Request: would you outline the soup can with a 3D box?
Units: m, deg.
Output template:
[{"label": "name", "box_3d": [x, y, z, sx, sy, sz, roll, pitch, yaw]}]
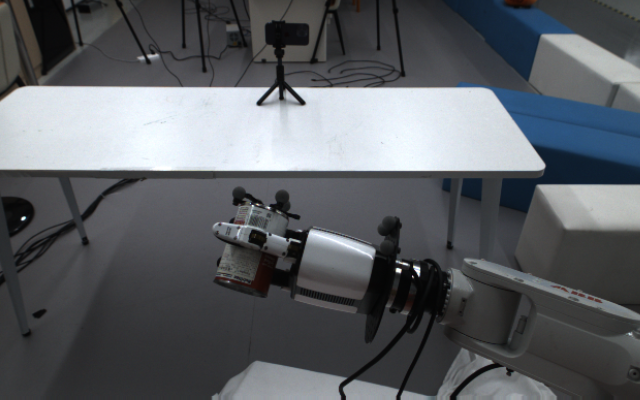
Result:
[{"label": "soup can", "box_3d": [-0.082, 0.063, 0.596, 0.067, 0.067, 0.101, 11, 72, 13]}]
